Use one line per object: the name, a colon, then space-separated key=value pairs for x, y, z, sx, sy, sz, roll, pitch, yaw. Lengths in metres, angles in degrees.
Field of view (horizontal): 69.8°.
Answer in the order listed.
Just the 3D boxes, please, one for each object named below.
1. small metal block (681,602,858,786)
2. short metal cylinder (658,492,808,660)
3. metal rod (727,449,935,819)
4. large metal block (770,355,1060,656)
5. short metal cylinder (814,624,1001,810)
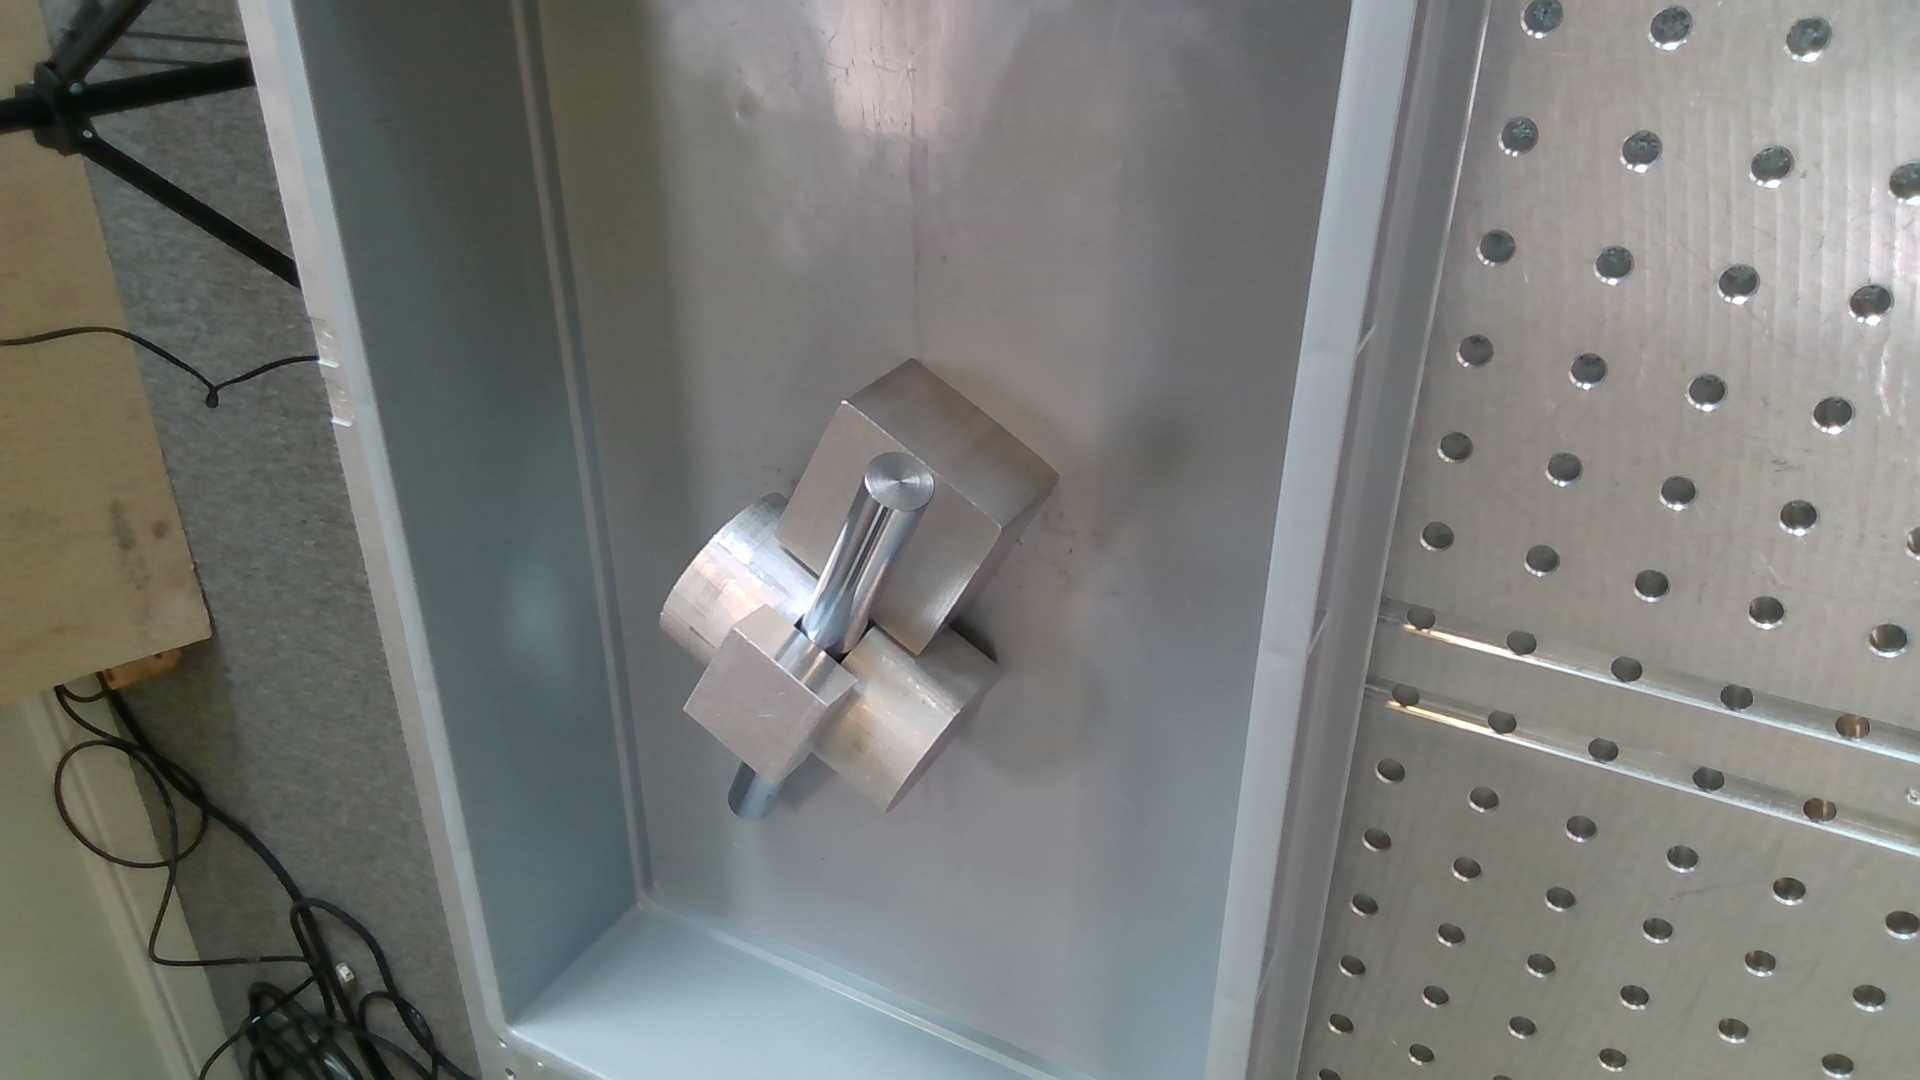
small metal block: x=-0.078 y=0.062 z=0.559 sx=0.050 sy=0.025 sz=0.050 roll=39 pitch=120 yaw=8
short metal cylinder: x=-0.087 y=0.025 z=0.610 sx=0.050 sy=0.080 sz=0.080 roll=40 pitch=129 yaw=7
metal rod: x=-0.065 y=0.056 z=0.599 sx=0.025 sy=0.025 sz=0.301 roll=40 pitch=144 yaw=7
large metal block: x=-0.020 y=-0.014 z=0.564 sx=0.080 sy=0.050 sz=0.080 roll=39 pitch=129 yaw=7
short metal cylinder: x=-0.026 y=0.071 z=0.599 sx=0.050 sy=0.080 sz=0.080 roll=38 pitch=129 yaw=9
